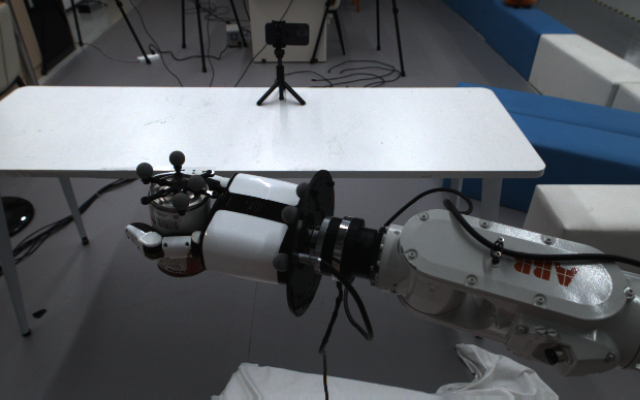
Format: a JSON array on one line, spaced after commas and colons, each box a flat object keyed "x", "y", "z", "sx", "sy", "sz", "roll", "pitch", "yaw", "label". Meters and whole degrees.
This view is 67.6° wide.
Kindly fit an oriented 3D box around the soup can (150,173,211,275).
[{"x": -0.157, "y": 0.031, "z": 0.558, "sx": 0.067, "sy": 0.101, "sz": 0.067, "roll": 5, "pitch": 37, "yaw": -4, "label": "soup can"}]
